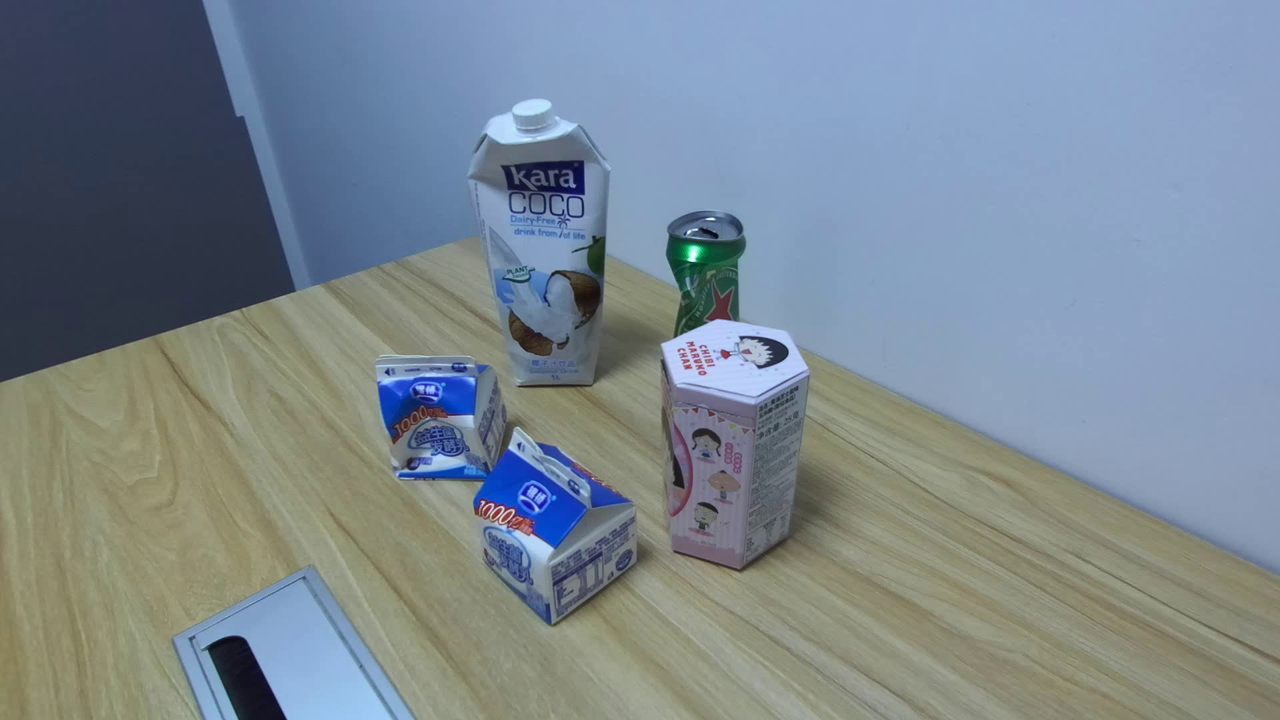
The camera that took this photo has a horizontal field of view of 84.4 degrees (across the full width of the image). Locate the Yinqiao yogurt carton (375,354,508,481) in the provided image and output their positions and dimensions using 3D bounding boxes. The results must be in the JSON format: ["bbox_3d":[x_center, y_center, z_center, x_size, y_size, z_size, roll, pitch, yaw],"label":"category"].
[{"bbox_3d":[-0.147,0.034,0.526,0.077,0.094,0.071,0,37,3],"label":"Yinqiao yogurt carton"}]

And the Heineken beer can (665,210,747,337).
[{"bbox_3d":[0.052,-0.030,0.553,0.078,0.164,0.065,-20,37,-22],"label":"Heineken beer can"}]

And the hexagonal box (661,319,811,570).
[{"bbox_3d":[0.055,0.054,0.446,0.084,0.136,0.091,-5,33,-7],"label":"hexagonal box"}]

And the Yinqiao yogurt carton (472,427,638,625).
[{"bbox_3d":[-0.052,0.093,0.433,0.074,0.092,0.075,-27,42,-36],"label":"Yinqiao yogurt carton"}]

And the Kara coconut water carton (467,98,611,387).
[{"bbox_3d":[-0.077,-0.090,0.579,0.115,0.239,0.069,0,34,1],"label":"Kara coconut water carton"}]
